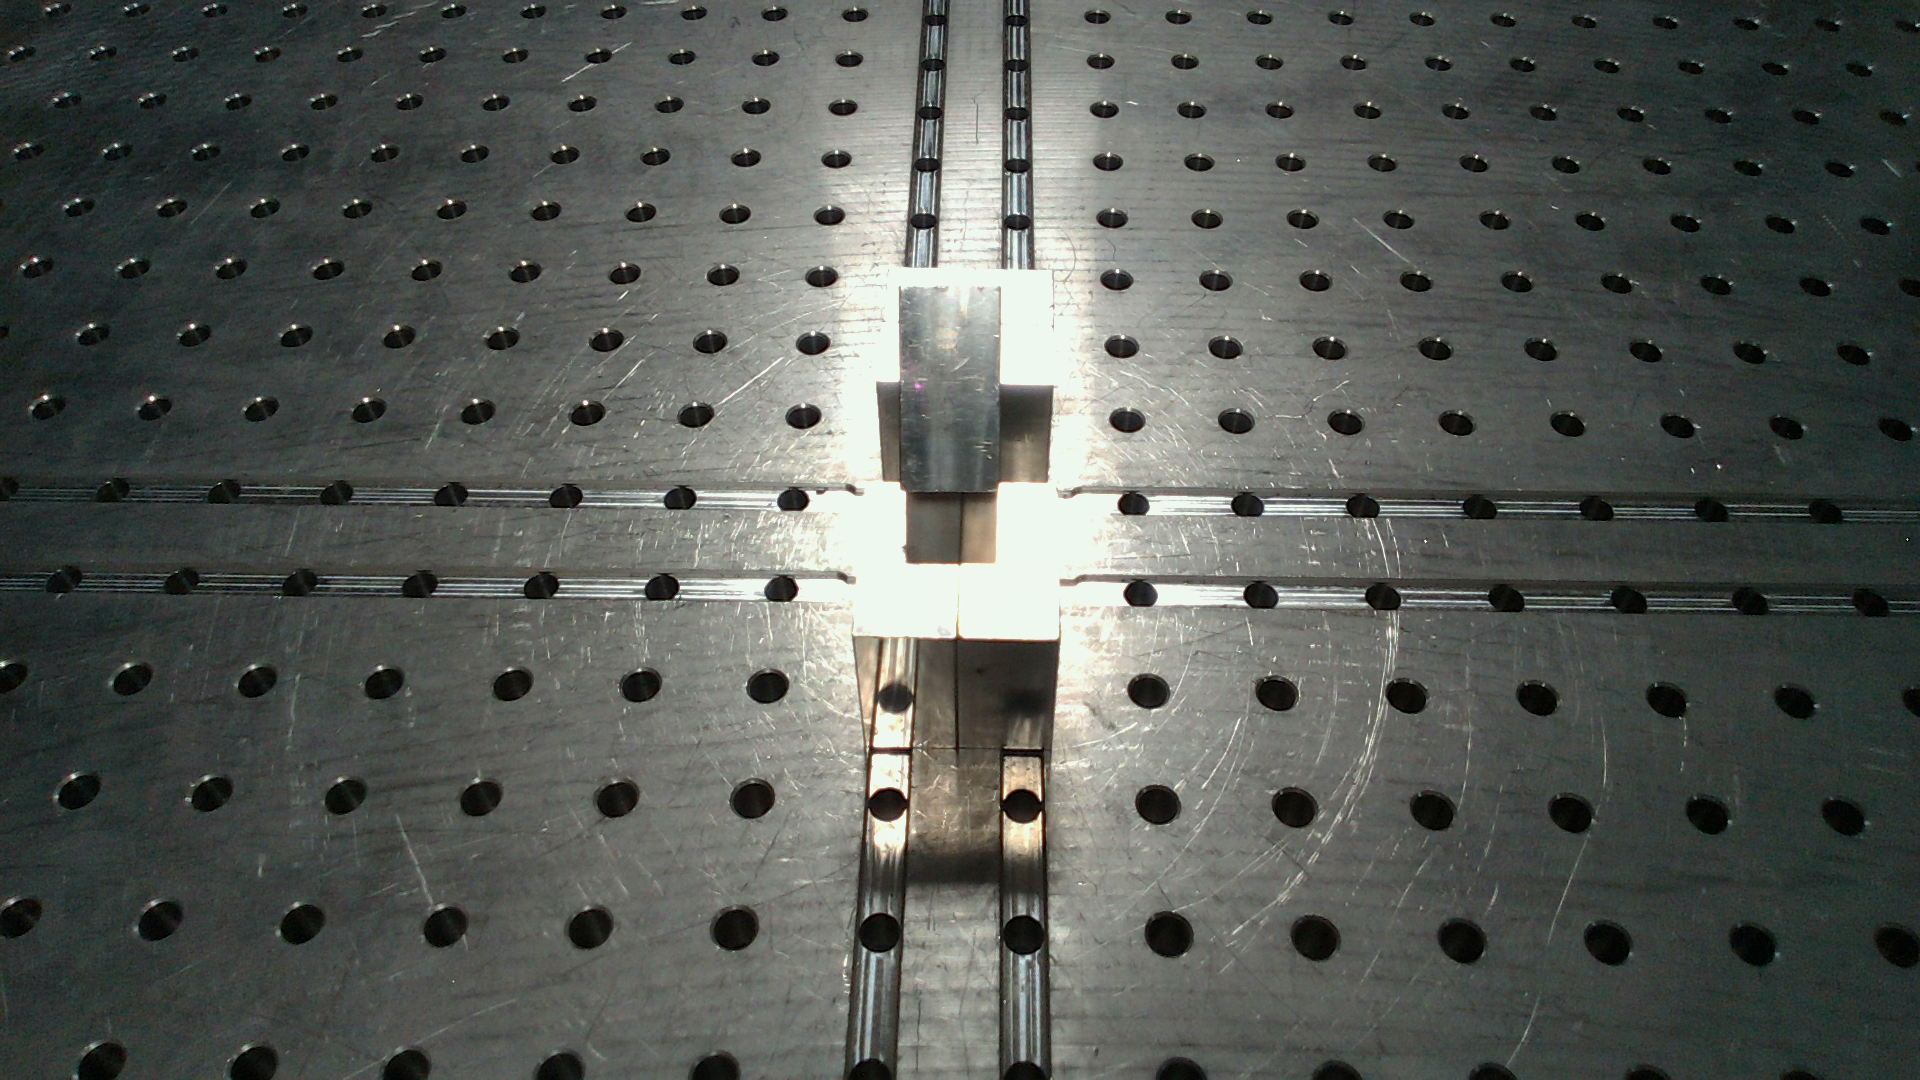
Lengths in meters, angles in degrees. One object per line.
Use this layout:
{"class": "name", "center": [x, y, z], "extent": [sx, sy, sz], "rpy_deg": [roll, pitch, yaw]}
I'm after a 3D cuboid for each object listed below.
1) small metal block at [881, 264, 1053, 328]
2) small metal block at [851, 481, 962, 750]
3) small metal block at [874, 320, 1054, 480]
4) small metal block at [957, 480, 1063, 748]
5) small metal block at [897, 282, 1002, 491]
{"class": "small metal block", "center": [0.003, -0.057, 0.426], "extent": [0.050, 0.050, 0.025], "rpy_deg": [1, 50, 1]}
{"class": "small metal block", "center": [-0.012, 0.020, 0.361], "extent": [0.025, 0.050, 0.050], "rpy_deg": [1, 50, 1]}
{"class": "small metal block", "center": [0.002, -0.037, 0.409], "extent": [0.050, 0.050, 0.025], "rpy_deg": [1, 50, 1]}
{"class": "small metal block", "center": [0.013, 0.020, 0.360], "extent": [0.025, 0.050, 0.050], "rpy_deg": [1, 50, 1]}
{"class": "small metal block", "center": [-0.002, -0.040, 0.358], "extent": [0.025, 0.050, 0.050], "rpy_deg": [0, 7, 1]}
